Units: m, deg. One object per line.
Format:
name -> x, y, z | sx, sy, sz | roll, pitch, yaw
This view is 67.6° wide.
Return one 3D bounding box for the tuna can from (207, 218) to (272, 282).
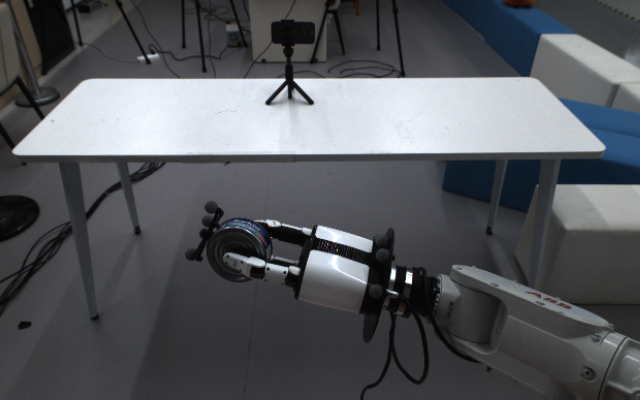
tuna can -> -0.108, 0.068, 0.664 | 0.085, 0.085, 0.034 | 5, 20, 5
